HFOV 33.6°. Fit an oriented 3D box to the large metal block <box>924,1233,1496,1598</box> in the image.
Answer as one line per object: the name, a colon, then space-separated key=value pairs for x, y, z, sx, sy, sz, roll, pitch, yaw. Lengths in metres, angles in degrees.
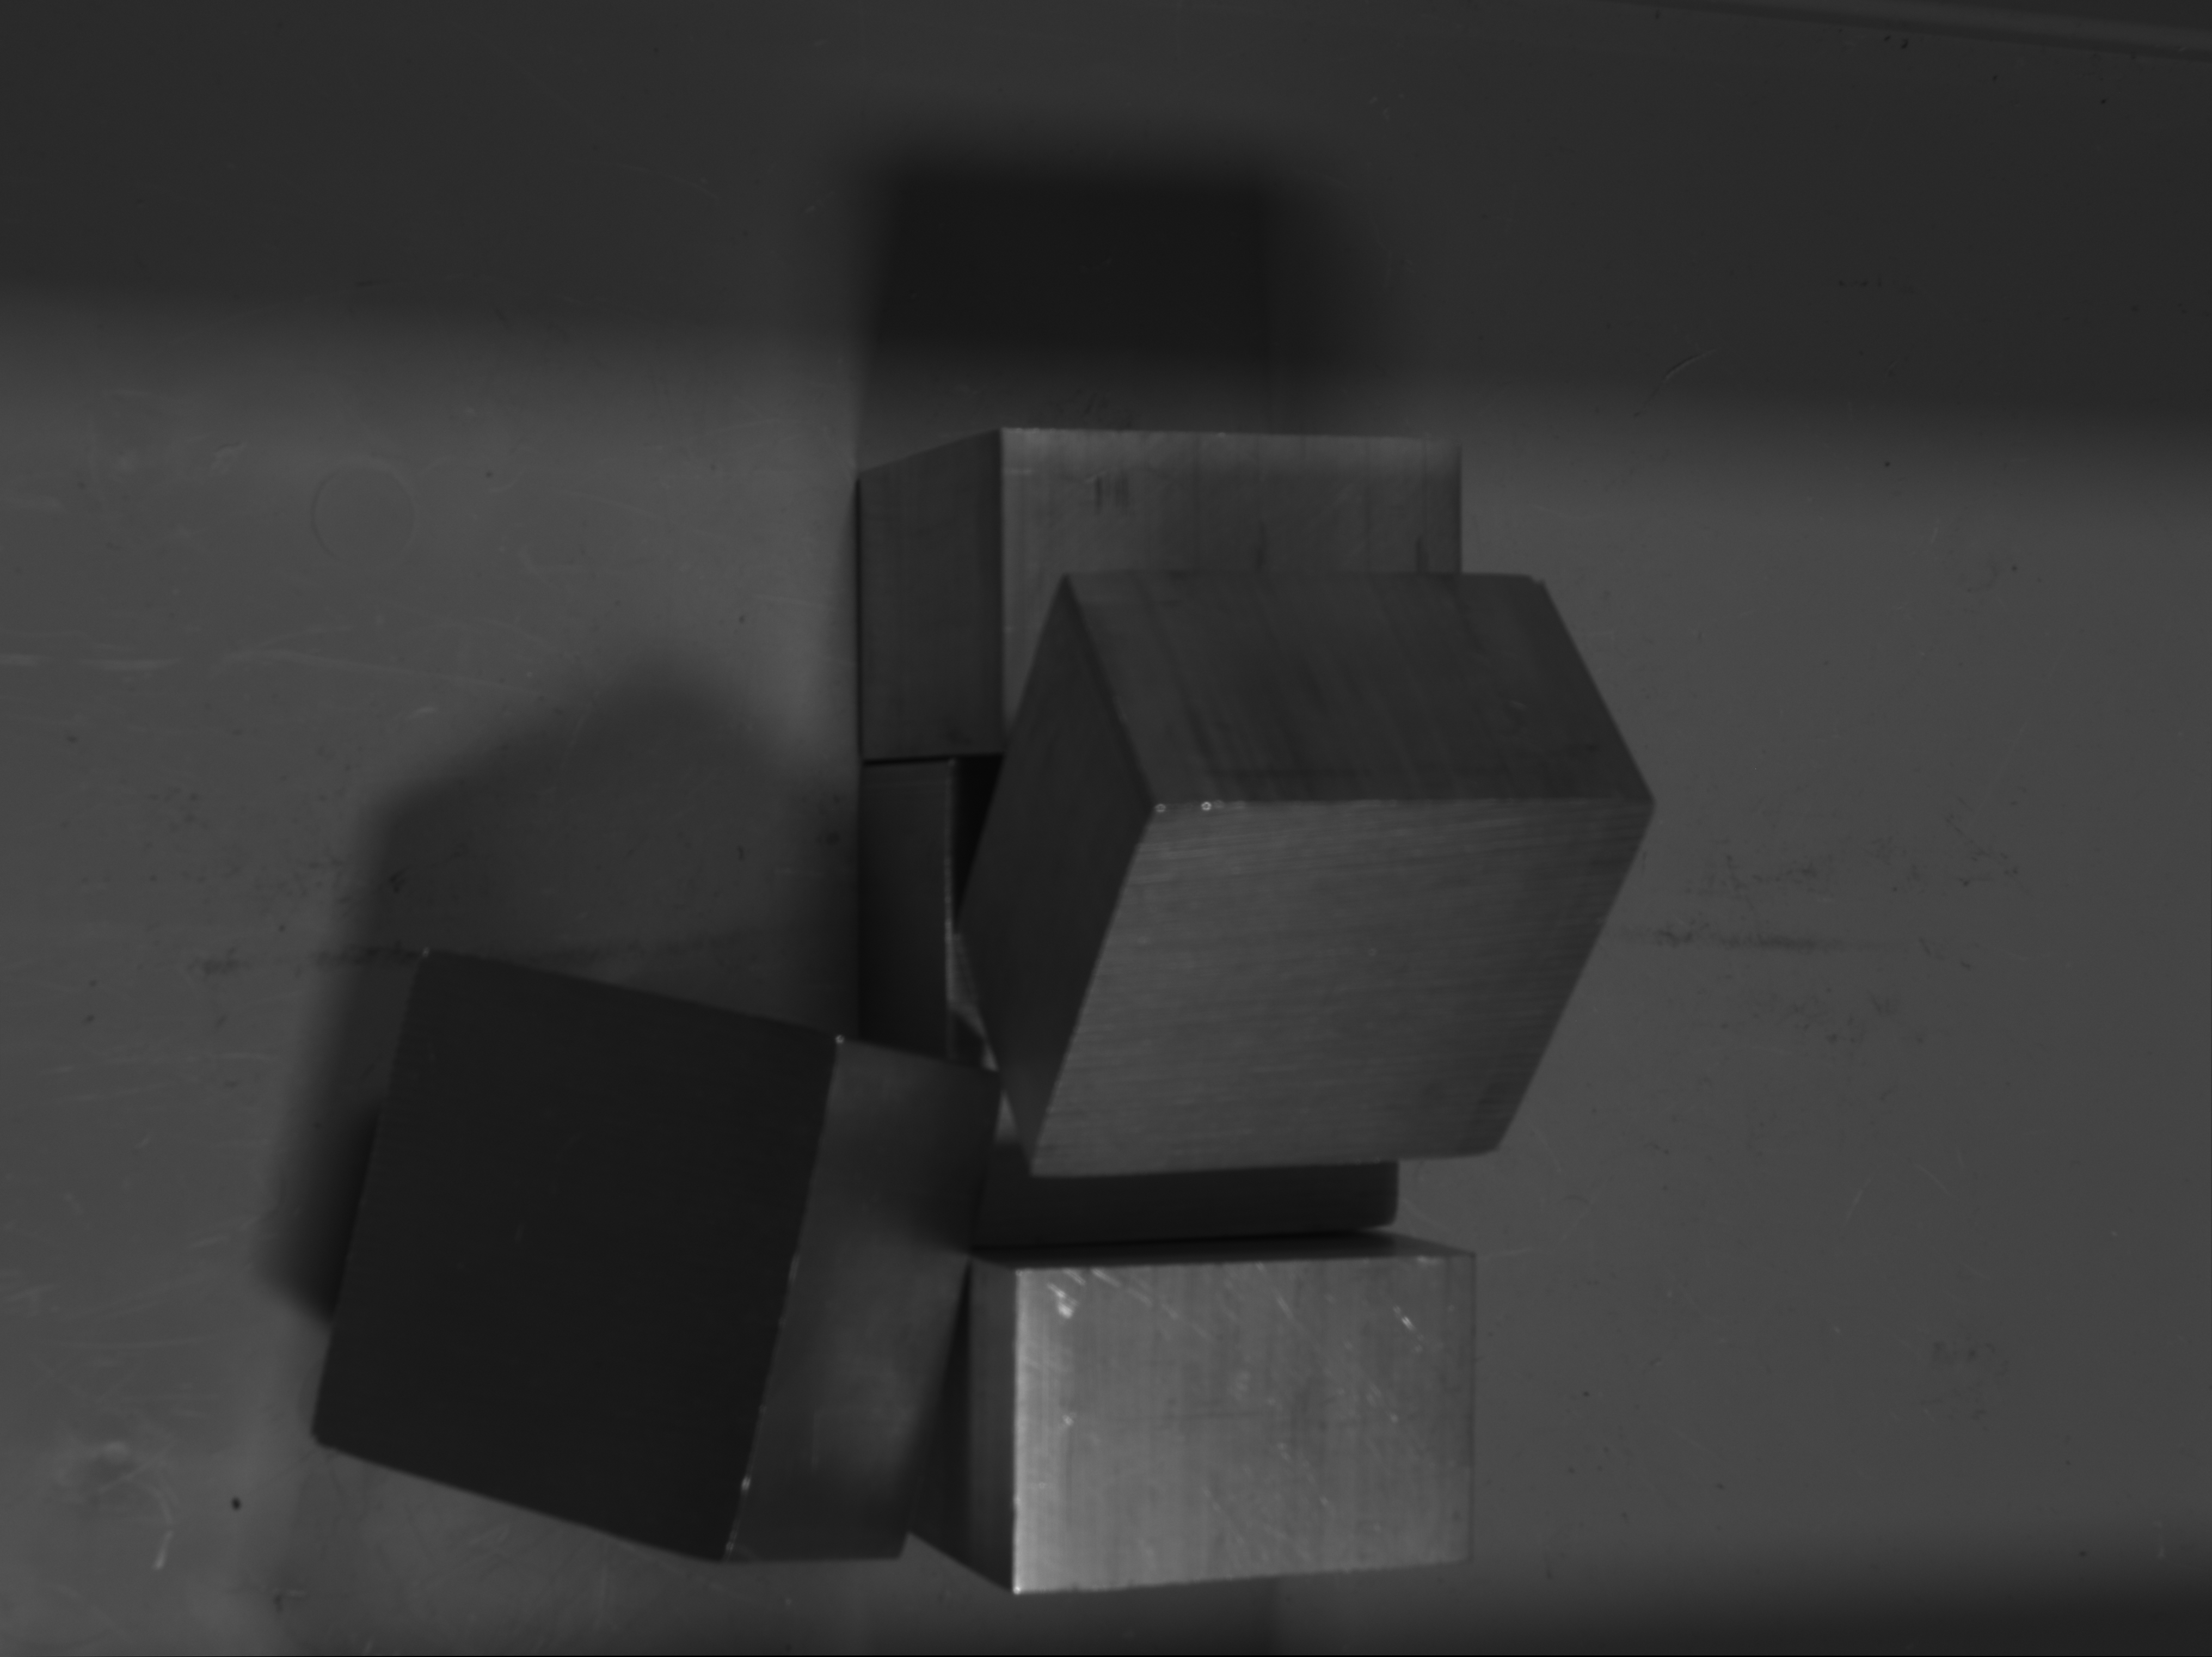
large metal block: x=0.012 y=0.094 z=0.616 sx=0.080 sy=0.080 sz=0.050 roll=1 pitch=90 yaw=-20

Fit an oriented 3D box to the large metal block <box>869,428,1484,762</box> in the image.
large metal block: x=0.010 y=-0.037 z=0.616 sx=0.080 sy=0.080 sz=0.050 roll=-1 pitch=90 yaw=-20

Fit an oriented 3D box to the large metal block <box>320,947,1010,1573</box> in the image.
large metal block: x=-0.069 y=0.068 z=0.579 sx=0.050 sy=0.080 sz=0.080 roll=20 pitch=82 yaw=-62

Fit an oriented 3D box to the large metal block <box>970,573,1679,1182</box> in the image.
large metal block: x=0.031 y=0.008 z=0.564 sx=0.080 sy=0.050 sz=0.080 roll=-1 pitch=135 yaw=-20

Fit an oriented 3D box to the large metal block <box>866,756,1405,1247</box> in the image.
large metal block: x=0.004 y=0.028 z=0.632 sx=0.080 sy=0.050 sz=0.080 roll=-1 pitch=90 yaw=-20
